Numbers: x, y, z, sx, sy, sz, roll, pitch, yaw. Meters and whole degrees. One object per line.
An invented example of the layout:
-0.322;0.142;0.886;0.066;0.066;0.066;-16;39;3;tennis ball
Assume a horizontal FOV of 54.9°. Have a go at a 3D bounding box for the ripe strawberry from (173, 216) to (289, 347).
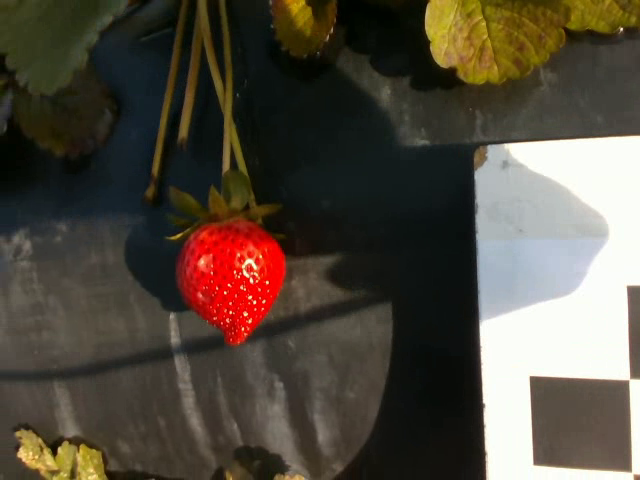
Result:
-0.026;0.015;0.187;0.040;0.044;0.036;-21;-17;16;ripe strawberry
